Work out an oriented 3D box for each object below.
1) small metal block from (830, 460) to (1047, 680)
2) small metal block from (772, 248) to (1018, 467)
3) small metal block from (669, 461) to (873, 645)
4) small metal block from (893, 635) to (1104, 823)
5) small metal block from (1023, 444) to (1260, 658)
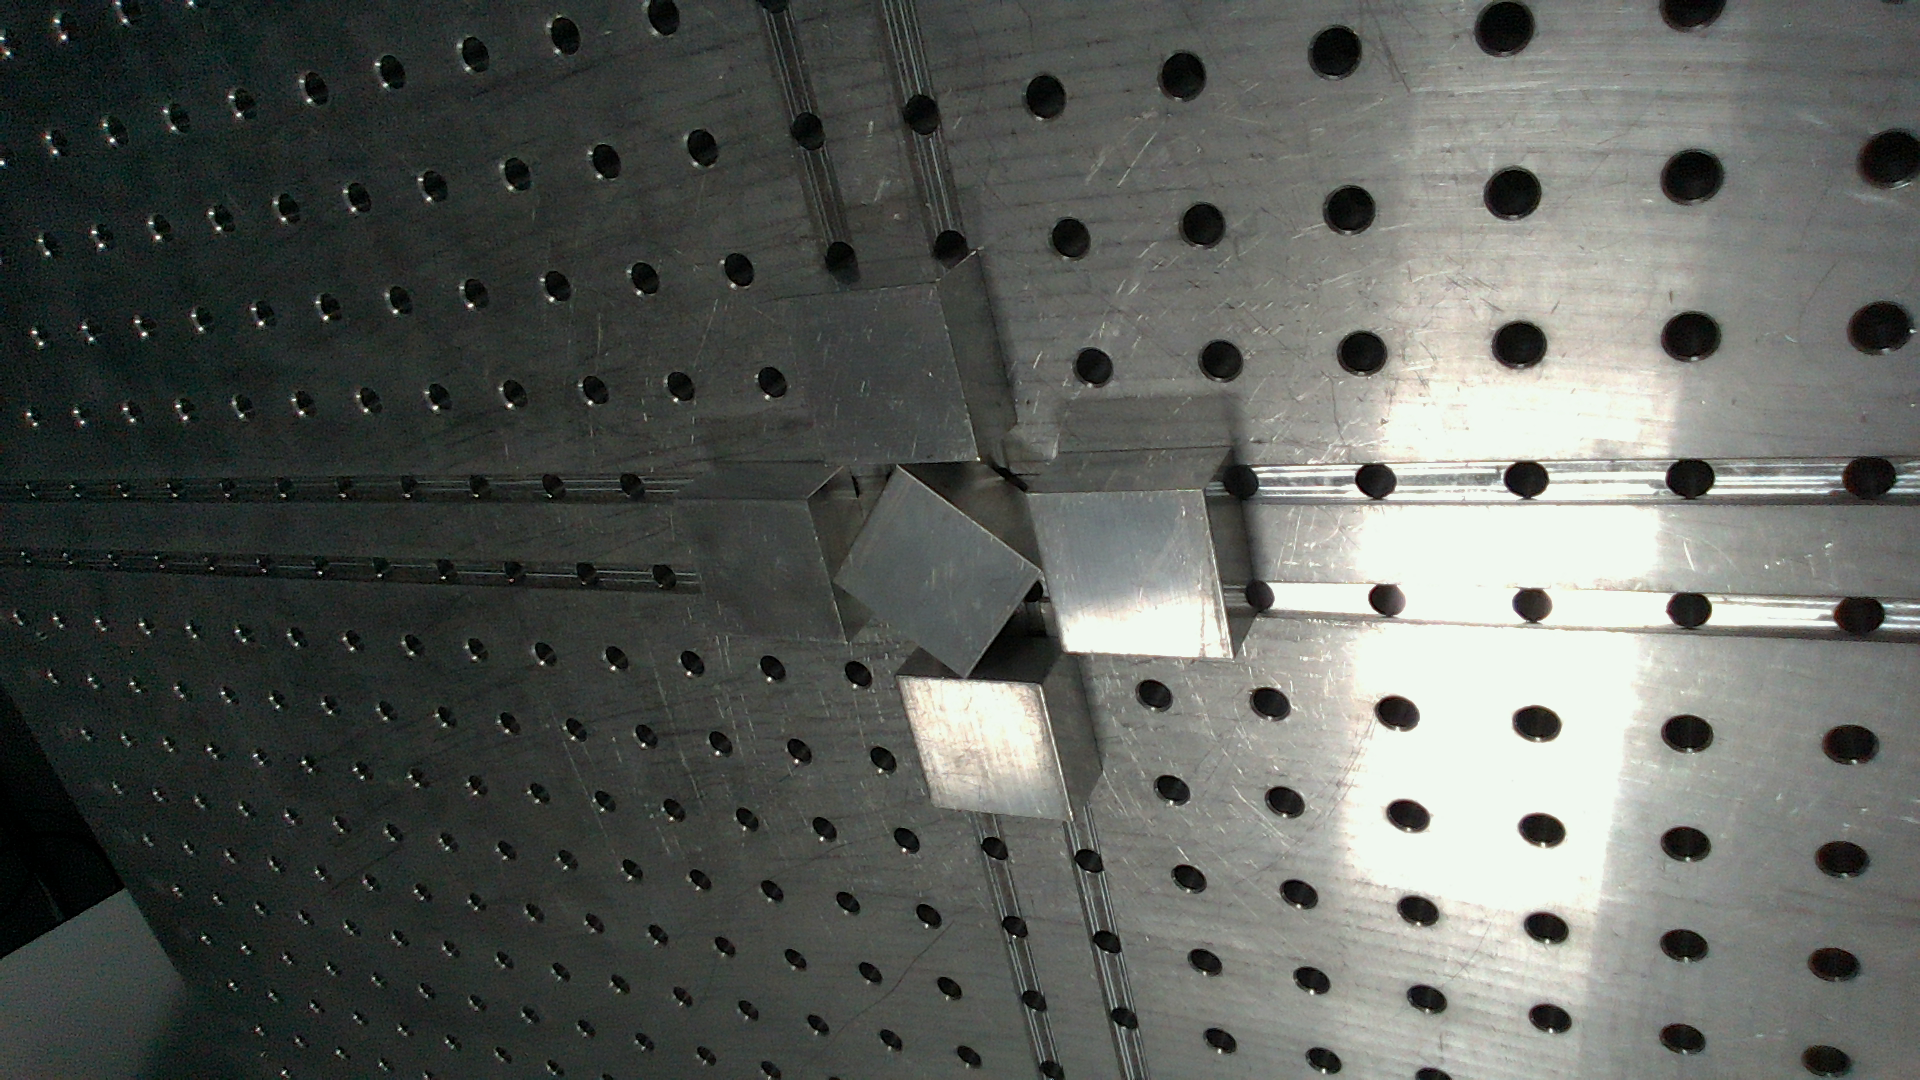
[{"bbox_3d":[-0.003,0.004,0.400,0.050,0.025,0.050,36,129,4],"label":"small metal block"},{"bbox_3d":[-0.017,-0.049,0.375,0.050,0.025,0.050,-1,118,29],"label":"small metal block"},{"bbox_3d":[-0.056,0.004,0.428,0.050,0.025,0.050,1,119,28],"label":"small metal block"},{"bbox_3d":[0.013,0.057,0.425,0.050,0.025,0.050,0,119,28],"label":"small metal block"},{"bbox_3d":[0.050,0.003,0.371,0.050,0.025,0.050,0,118,28],"label":"small metal block"}]
